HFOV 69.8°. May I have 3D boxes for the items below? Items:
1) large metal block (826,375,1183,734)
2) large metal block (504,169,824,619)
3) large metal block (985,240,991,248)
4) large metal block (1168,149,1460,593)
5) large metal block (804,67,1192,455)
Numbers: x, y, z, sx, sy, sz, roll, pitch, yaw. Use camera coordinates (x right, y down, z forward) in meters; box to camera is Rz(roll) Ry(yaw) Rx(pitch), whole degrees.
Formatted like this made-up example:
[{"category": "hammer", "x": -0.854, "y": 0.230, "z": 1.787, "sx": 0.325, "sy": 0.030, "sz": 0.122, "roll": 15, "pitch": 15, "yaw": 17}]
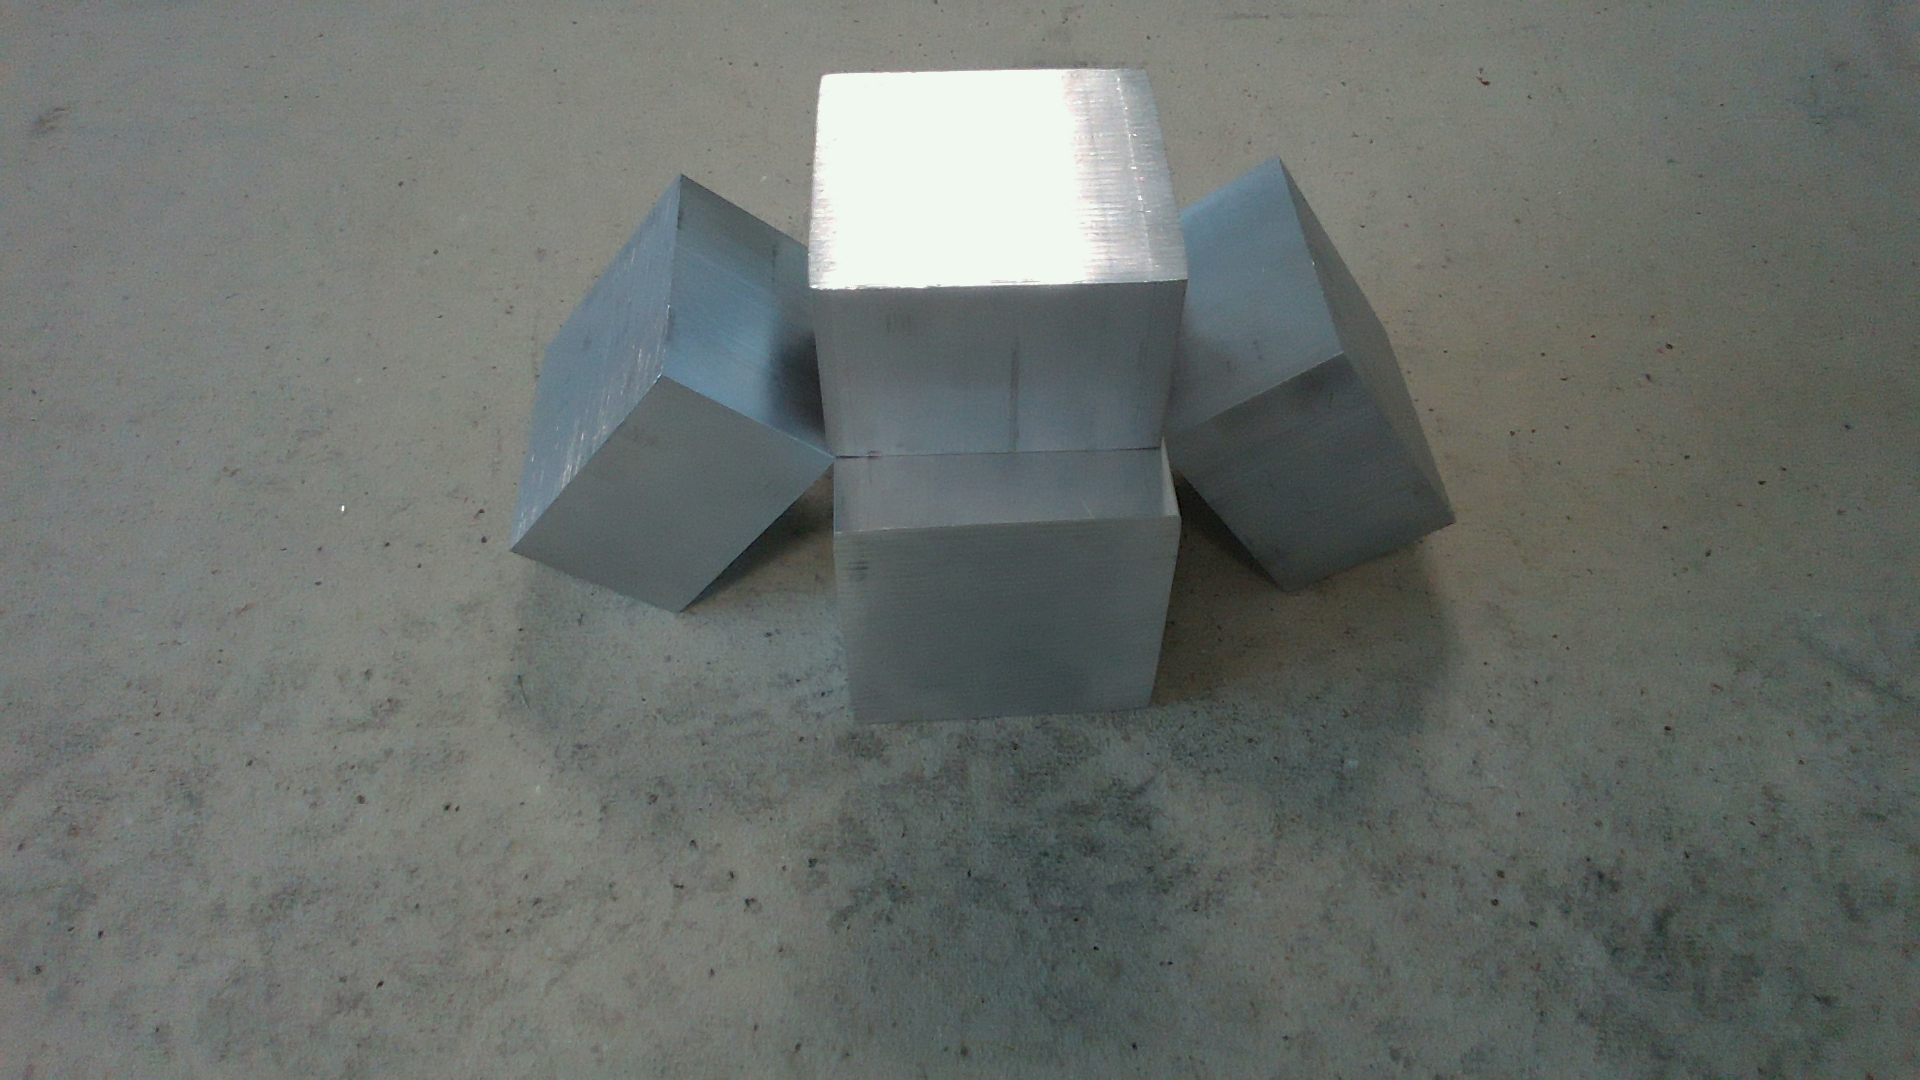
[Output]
[{"category": "large metal block", "x": 0.009, "y": 0.005, "z": 0.354, "sx": 0.080, "sy": 0.080, "sz": 0.050, "roll": -3, "pitch": 50, "yaw": -2}, {"category": "large metal block", "x": -0.078, "y": -0.039, "z": 0.379, "sx": 0.050, "sy": 0.080, "sz": 0.080, "roll": 26, "pitch": 41, "yaw": -31}, {"category": "large metal block", "x": 0.006, "y": -0.066, "z": 0.412, "sx": 0.080, "sy": 0.080, "sz": 0.050, "roll": -1, "pitch": 50, "yaw": -2}, {"category": "large metal block", "x": 0.091, "y": -0.046, "z": 0.384, "sx": 0.050, "sy": 0.080, "sz": 0.080, "roll": -26, "pitch": 45, "yaw": 24}, {"category": "large metal block", "x": 0.007, "y": -0.068, "z": 0.328, "sx": 0.080, "sy": 0.050, "sz": 0.080, "roll": -2, "pitch": 50, "yaw": -1}]
